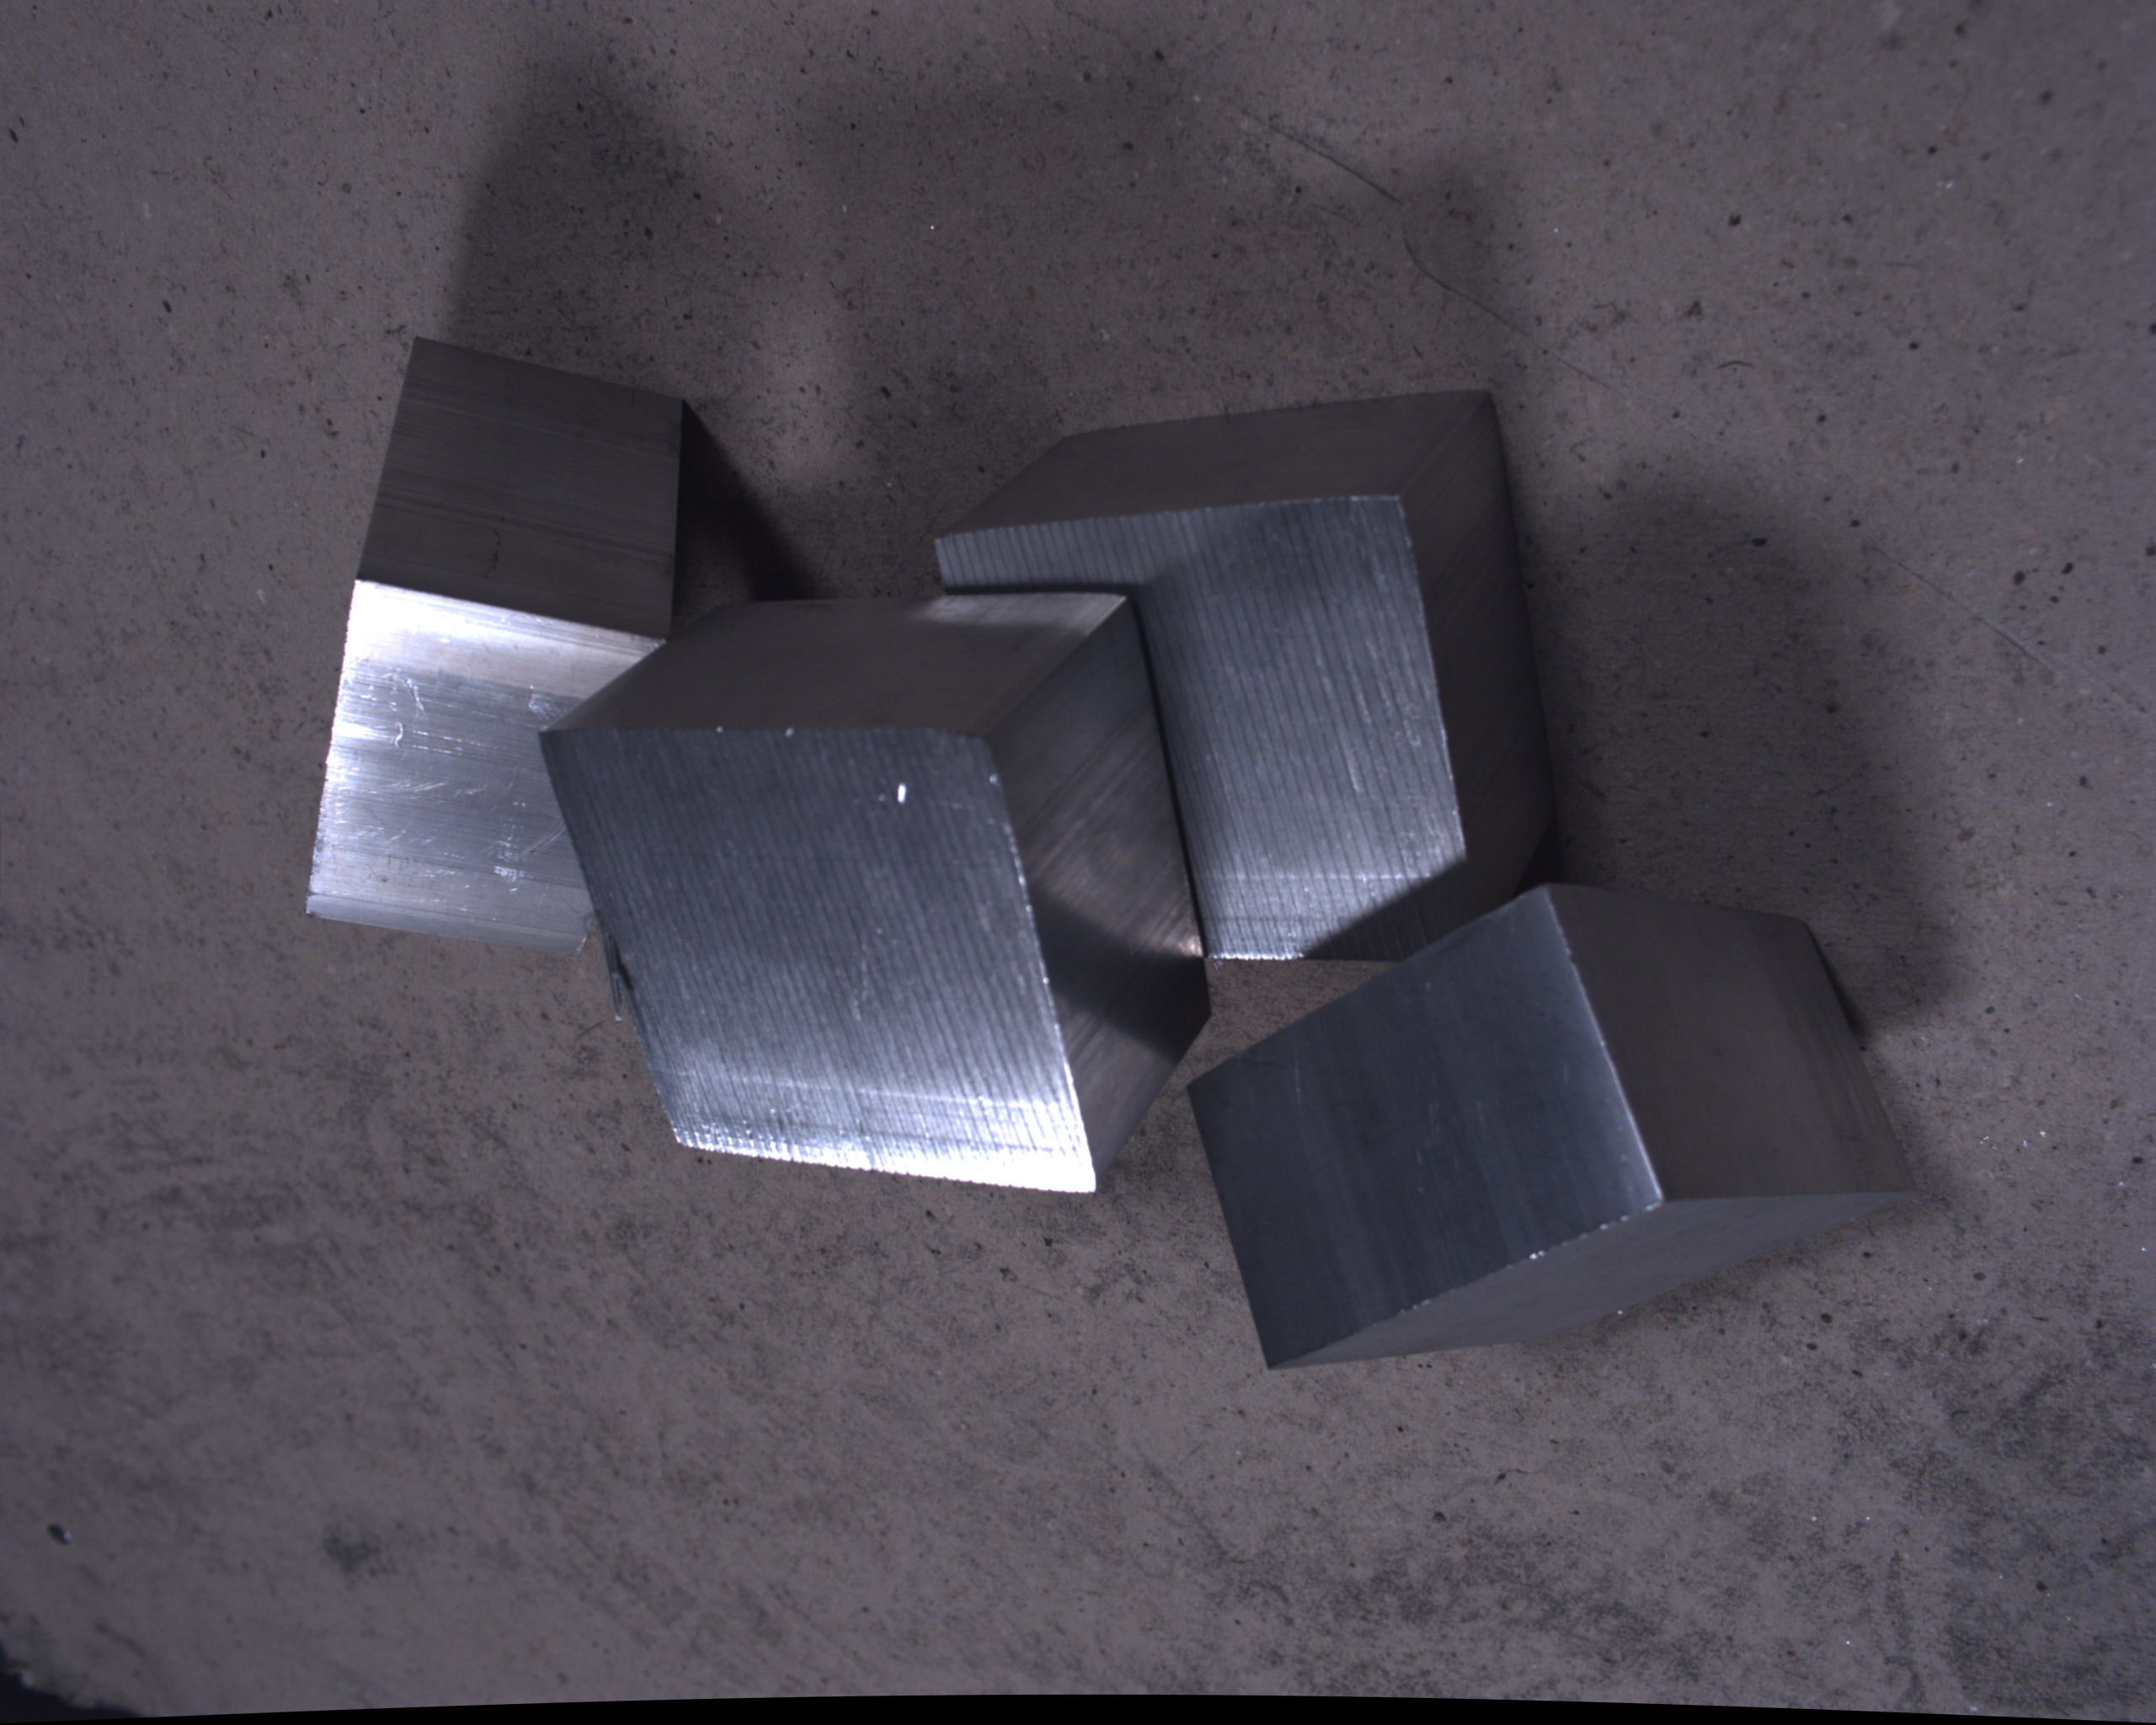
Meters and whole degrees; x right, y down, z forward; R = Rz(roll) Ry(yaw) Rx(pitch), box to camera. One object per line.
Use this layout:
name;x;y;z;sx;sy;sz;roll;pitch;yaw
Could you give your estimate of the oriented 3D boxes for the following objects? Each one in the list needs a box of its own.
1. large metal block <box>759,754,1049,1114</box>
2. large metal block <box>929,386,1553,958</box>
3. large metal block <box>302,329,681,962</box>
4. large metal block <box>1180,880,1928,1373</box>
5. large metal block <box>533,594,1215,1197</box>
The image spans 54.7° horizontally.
large metal block;-0.032;0.005;0.408;0.080;0.050;0.080;0;119;27
large metal block;0.031;-0.031;0.356;0.080;0.050;0.080;0;119;27
large metal block;-0.110;-0.041;0.395;0.050;0.080;0.079;10;130;-18
large metal block;0.079;0.046;0.350;0.080;0.081;0.050;-35;61;38
large metal block;-0.030;0.003;0.341;0.080;0.050;0.079;2;120;27
